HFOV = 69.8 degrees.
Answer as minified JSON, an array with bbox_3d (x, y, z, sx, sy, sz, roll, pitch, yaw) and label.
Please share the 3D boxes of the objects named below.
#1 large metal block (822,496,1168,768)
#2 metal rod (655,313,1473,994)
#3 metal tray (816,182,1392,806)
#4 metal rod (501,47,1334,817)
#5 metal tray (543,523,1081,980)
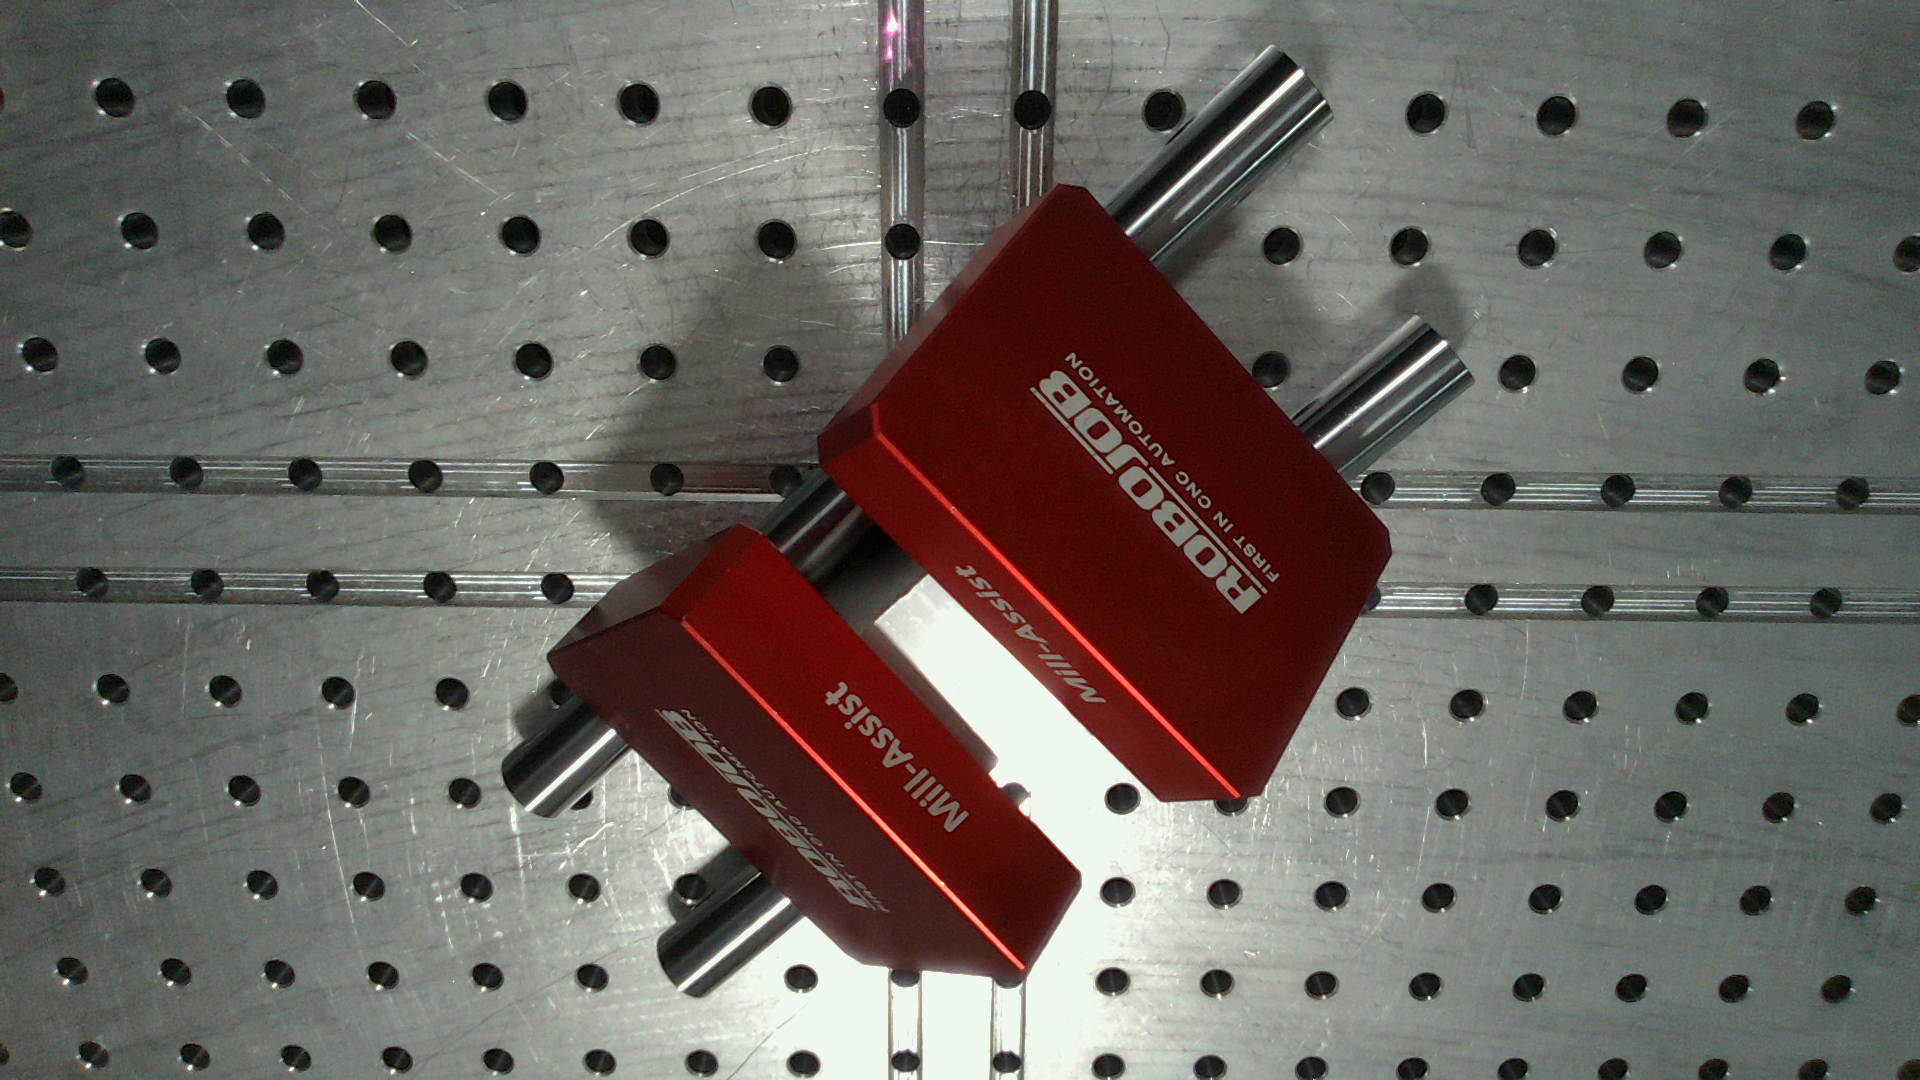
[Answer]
[{"bbox_3d":[0.006,0.014,0.372,0.080,0.080,0.050,-40,105,13],"label":"large metal block"},{"bbox_3d":[0.022,0.042,0.412,0.300,0.025,0.025,-40,105,13],"label":"metal rod"},{"bbox_3d":[0.040,-0.009,0.335,0.130,0.030,0.090,45,60,-15],"label":"metal tray"},{"bbox_3d":[-0.021,-0.021,0.389,0.300,0.025,0.025,-41,105,13],"label":"metal rod"},{"bbox_3d":[-0.040,0.060,0.361,0.130,0.030,0.090,48,147,-16],"label":"metal tray"}]
